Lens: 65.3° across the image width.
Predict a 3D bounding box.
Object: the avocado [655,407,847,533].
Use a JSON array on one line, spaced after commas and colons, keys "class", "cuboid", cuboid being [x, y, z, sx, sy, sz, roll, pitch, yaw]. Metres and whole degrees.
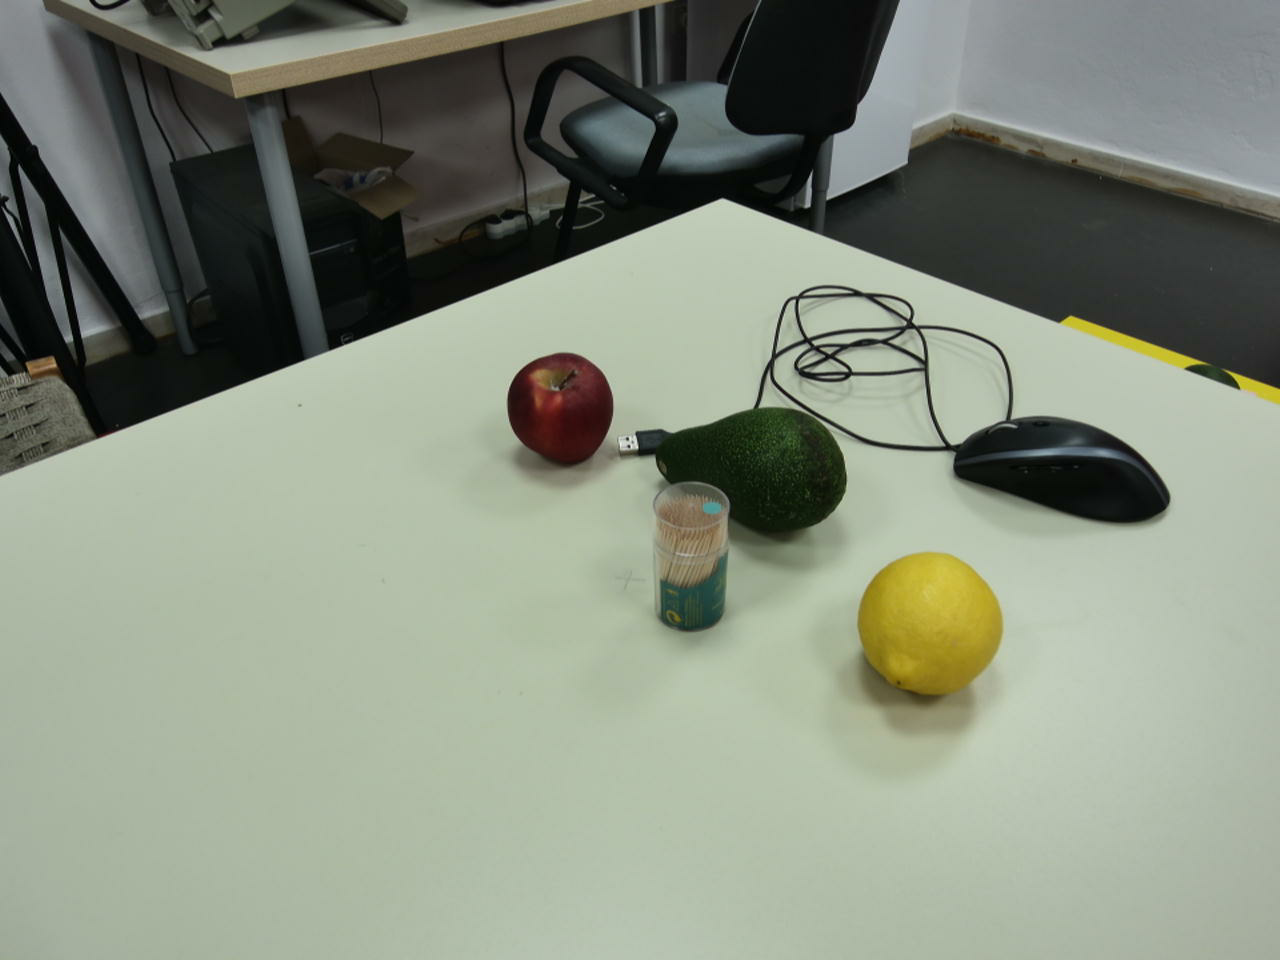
[{"class": "avocado", "cuboid": [0.071, -0.014, 0.600, 0.074, 0.076, 0.123, -23, 42, -27]}]
